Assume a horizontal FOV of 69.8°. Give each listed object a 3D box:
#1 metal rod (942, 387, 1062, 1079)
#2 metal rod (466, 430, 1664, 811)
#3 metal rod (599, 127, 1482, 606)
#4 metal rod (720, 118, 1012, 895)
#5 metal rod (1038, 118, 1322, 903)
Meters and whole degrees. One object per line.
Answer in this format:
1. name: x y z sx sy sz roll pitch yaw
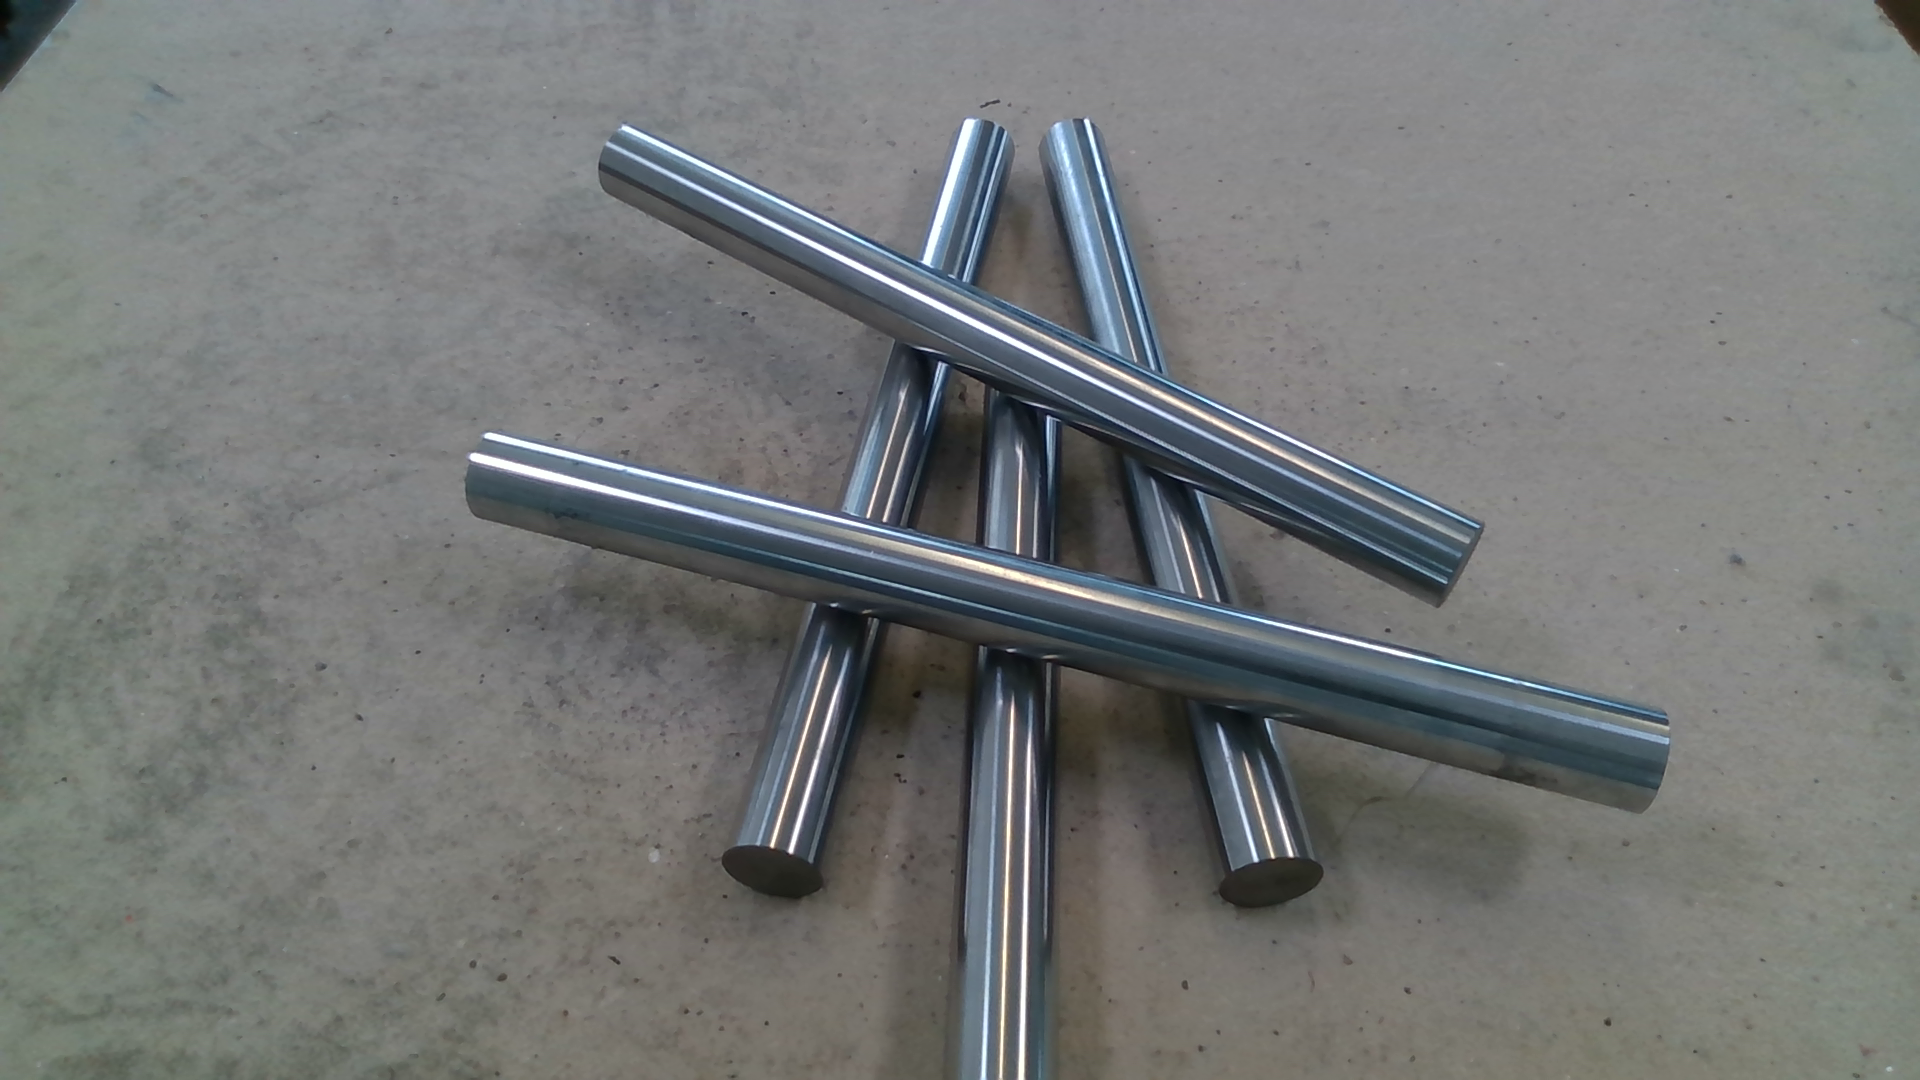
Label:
1. metal rod: 0.012 0.065 0.340 0.025 0.025 0.299 2 50 2
2. metal rod: 0.015 0.016 0.348 0.300 0.025 0.025 13 51 11
3. metal rod: 0.008 -0.061 0.412 0.300 0.025 0.025 29 56 22
4. metal rod: -0.019 -0.034 0.423 0.025 0.025 0.299 8 51 7
5. metal rod: 0.058 -0.034 0.422 0.025 0.025 0.299 -5 50 -4
